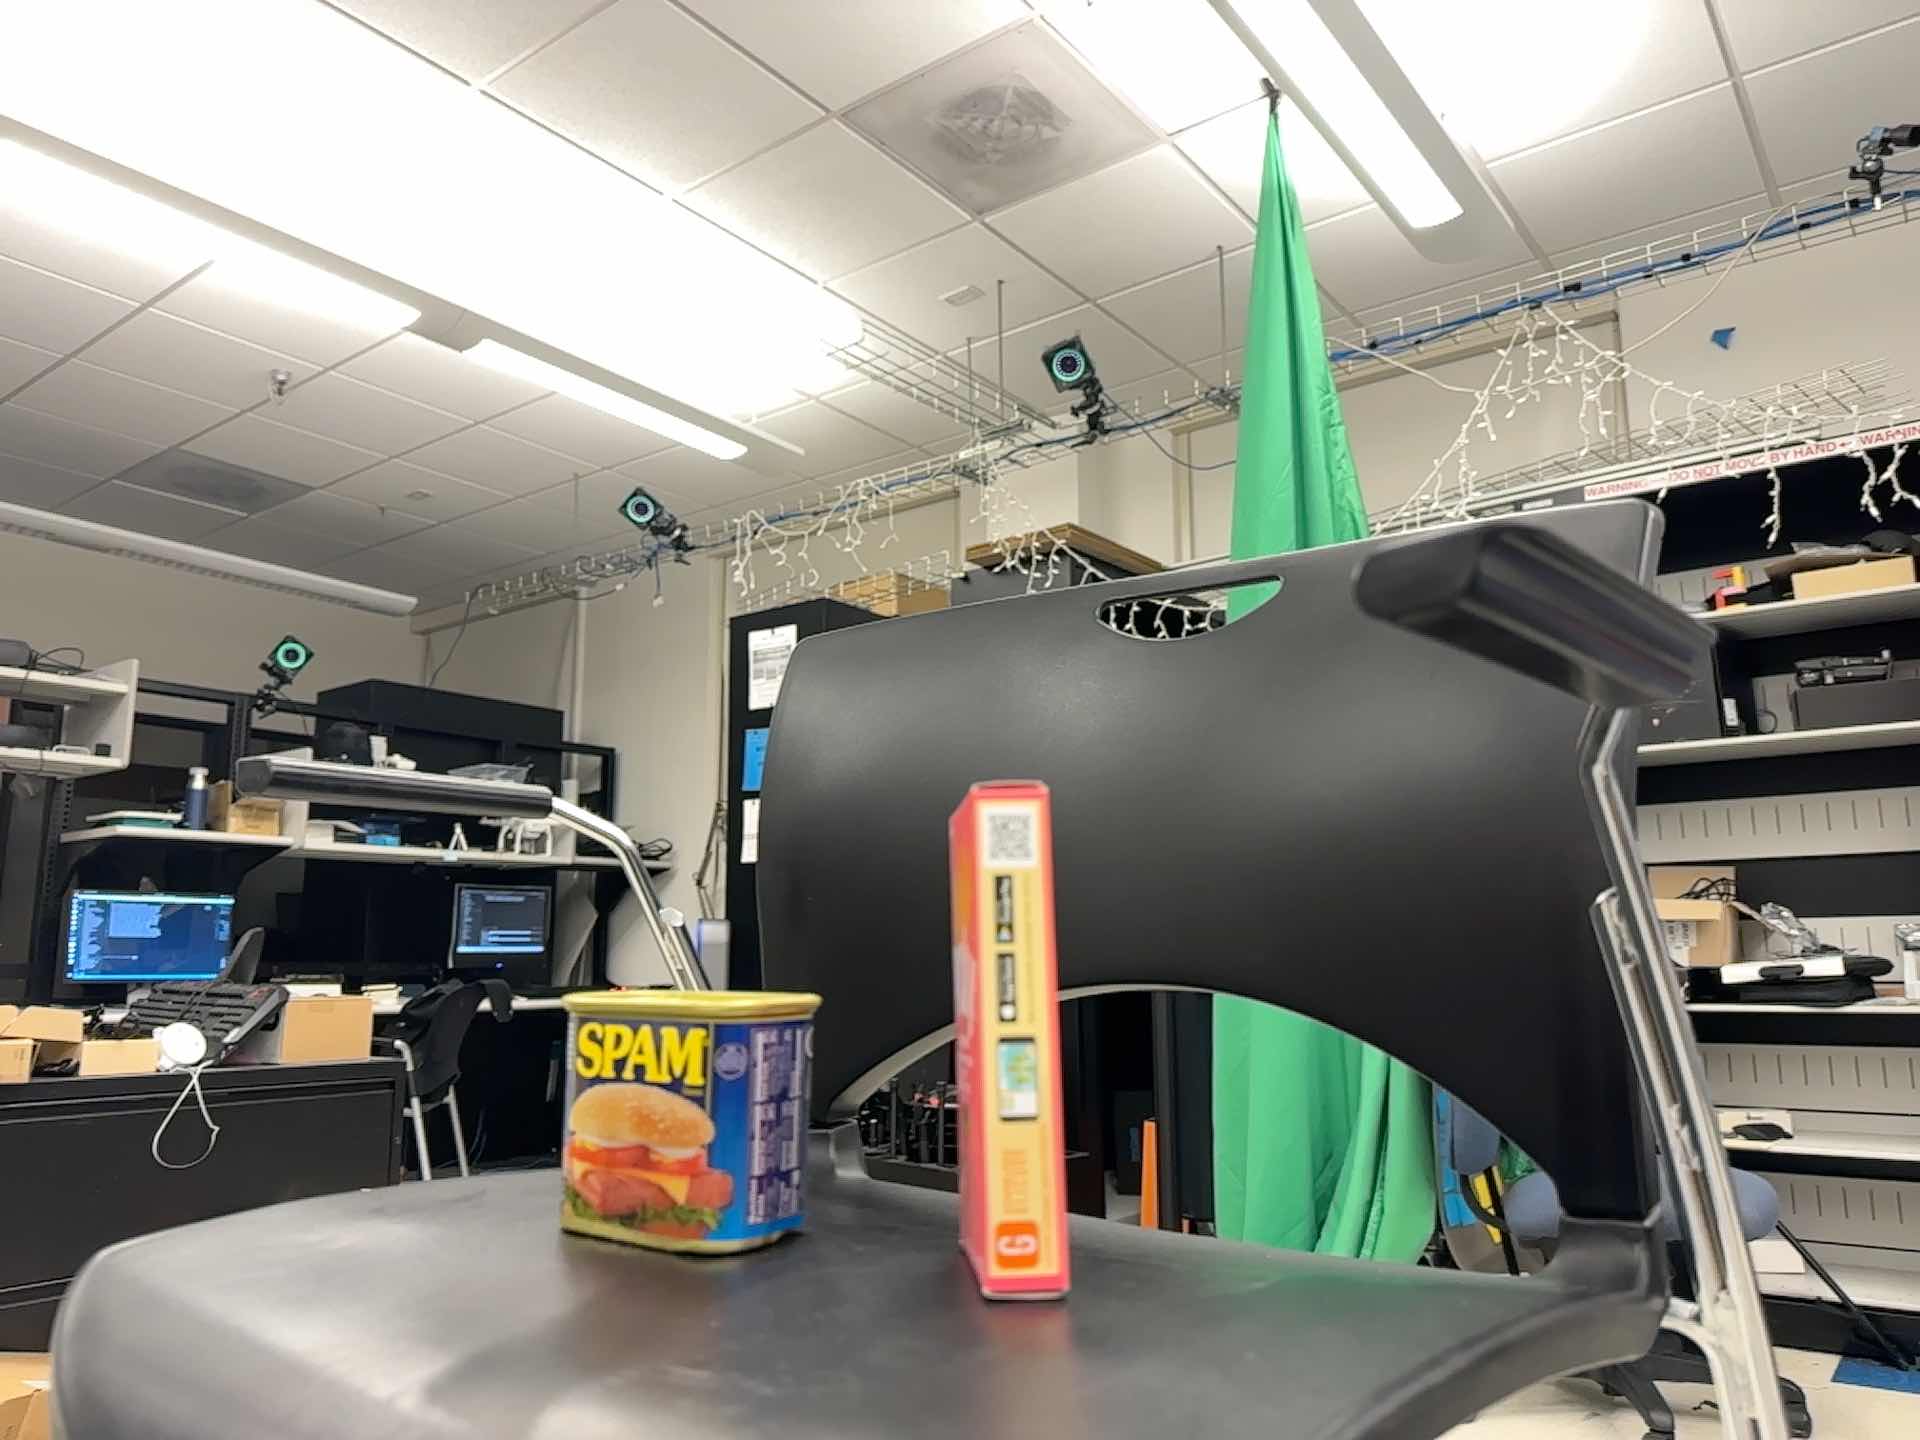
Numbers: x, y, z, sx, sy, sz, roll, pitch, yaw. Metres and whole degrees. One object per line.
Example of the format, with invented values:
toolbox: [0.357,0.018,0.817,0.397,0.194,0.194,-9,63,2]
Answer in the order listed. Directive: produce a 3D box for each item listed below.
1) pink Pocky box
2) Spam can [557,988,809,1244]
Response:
pink Pocky box: [0.015,0.104,0.450,0.029,0.154,0.084,0,-12,-4]
Spam can: [-0.107,0.146,0.510,0.100,0.083,0.056,-8,-13,41]
